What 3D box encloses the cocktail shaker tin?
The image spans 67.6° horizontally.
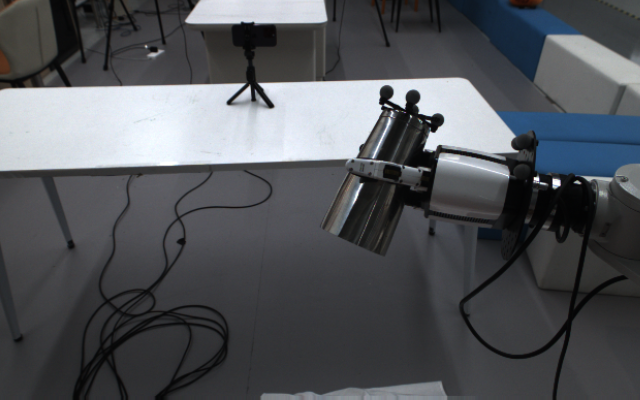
[{"bbox_3d":[0.078,-0.027,0.617,0.093,0.170,0.093,23,-1,0],"label":"cocktail shaker tin"}]
